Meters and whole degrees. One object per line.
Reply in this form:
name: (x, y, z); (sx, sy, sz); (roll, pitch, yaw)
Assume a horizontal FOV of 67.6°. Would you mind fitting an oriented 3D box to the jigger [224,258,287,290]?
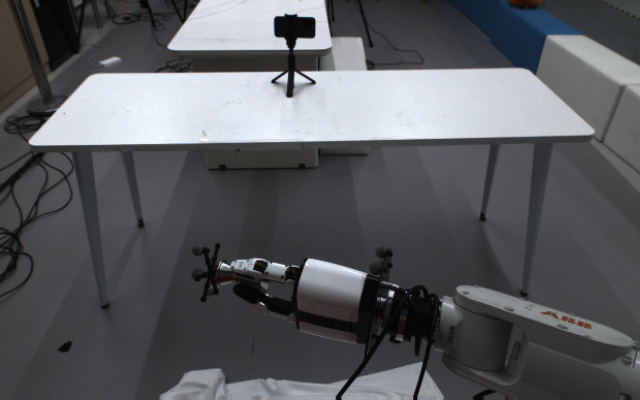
jigger: (-0.102, 0.105, 0.694); (0.071, 0.043, 0.043); (4, 34, 13)
